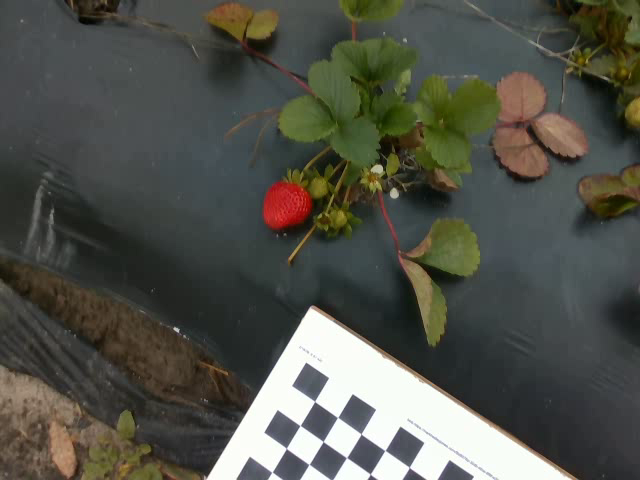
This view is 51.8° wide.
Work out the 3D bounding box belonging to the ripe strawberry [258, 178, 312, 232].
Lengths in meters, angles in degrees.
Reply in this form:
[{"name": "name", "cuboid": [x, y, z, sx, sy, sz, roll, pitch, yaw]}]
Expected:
[{"name": "ripe strawberry", "cuboid": [-0.010, -0.008, 0.164, 0.018, 0.017, 0.014, 36, -38, -1]}]
